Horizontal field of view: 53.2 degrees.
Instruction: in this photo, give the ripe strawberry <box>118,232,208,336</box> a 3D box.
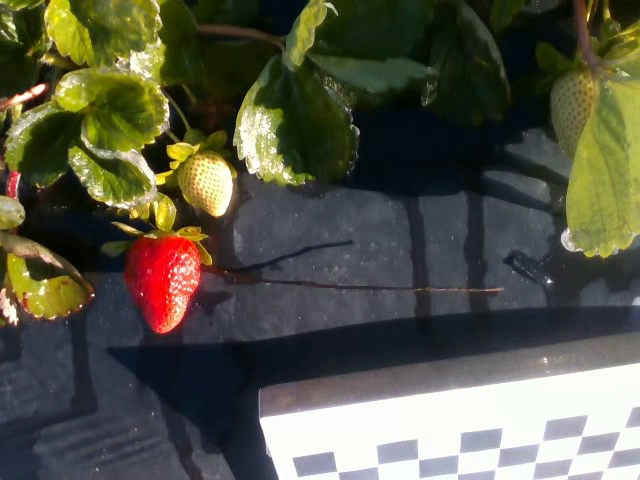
[{"bbox_3d":[-0.058,0.020,0.238,0.039,0.039,0.040,-8,-21,16],"label":"ripe strawberry"}]
